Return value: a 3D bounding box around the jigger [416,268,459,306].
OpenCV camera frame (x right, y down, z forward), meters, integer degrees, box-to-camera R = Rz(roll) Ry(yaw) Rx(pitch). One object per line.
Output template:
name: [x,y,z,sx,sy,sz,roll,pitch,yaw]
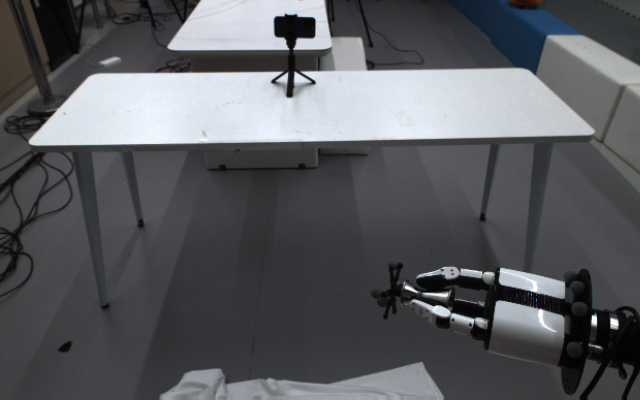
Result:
jigger: [0.160,0.132,0.689,0.071,0.043,0.043,6,33,26]
